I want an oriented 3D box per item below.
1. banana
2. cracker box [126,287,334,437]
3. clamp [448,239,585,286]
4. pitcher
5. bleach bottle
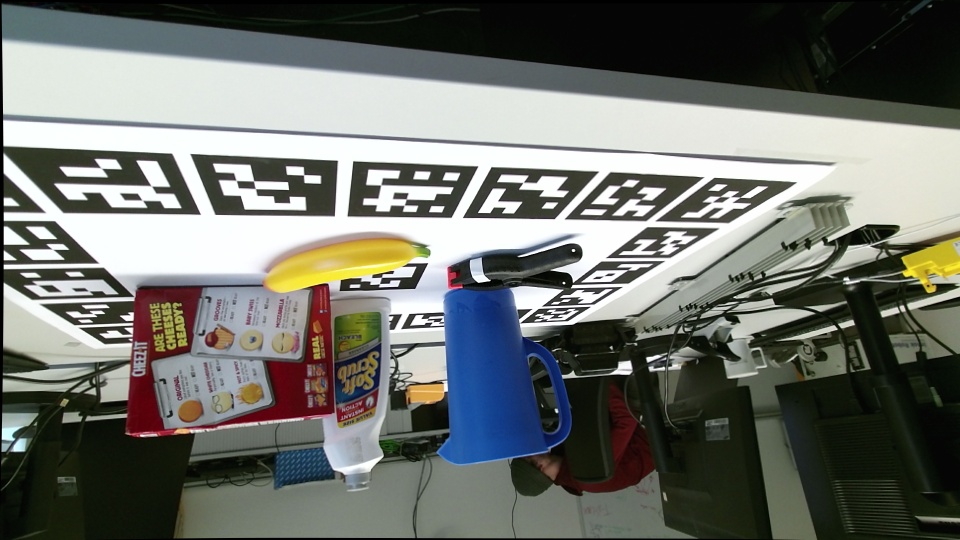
[{"bbox_3d":[-0.163,-0.015,0.600,0.198,0.038,0.074,-13,160,15],"label":"banana"},{"bbox_3d":[-0.292,0.109,0.648,0.214,0.163,0.072,-2,163,-20],"label":"cracker box"},{"bbox_3d":[0.042,-0.003,0.686,0.166,0.036,0.122,-5,162,-1],"label":"clamp"},{"bbox_3d":[0.032,0.160,0.766,0.189,0.241,0.133,-5,161,1],"label":"pitcher"},{"bbox_3d":[-0.161,0.159,0.752,0.103,0.249,0.068,-1,160,-18],"label":"bleach bottle"}]
